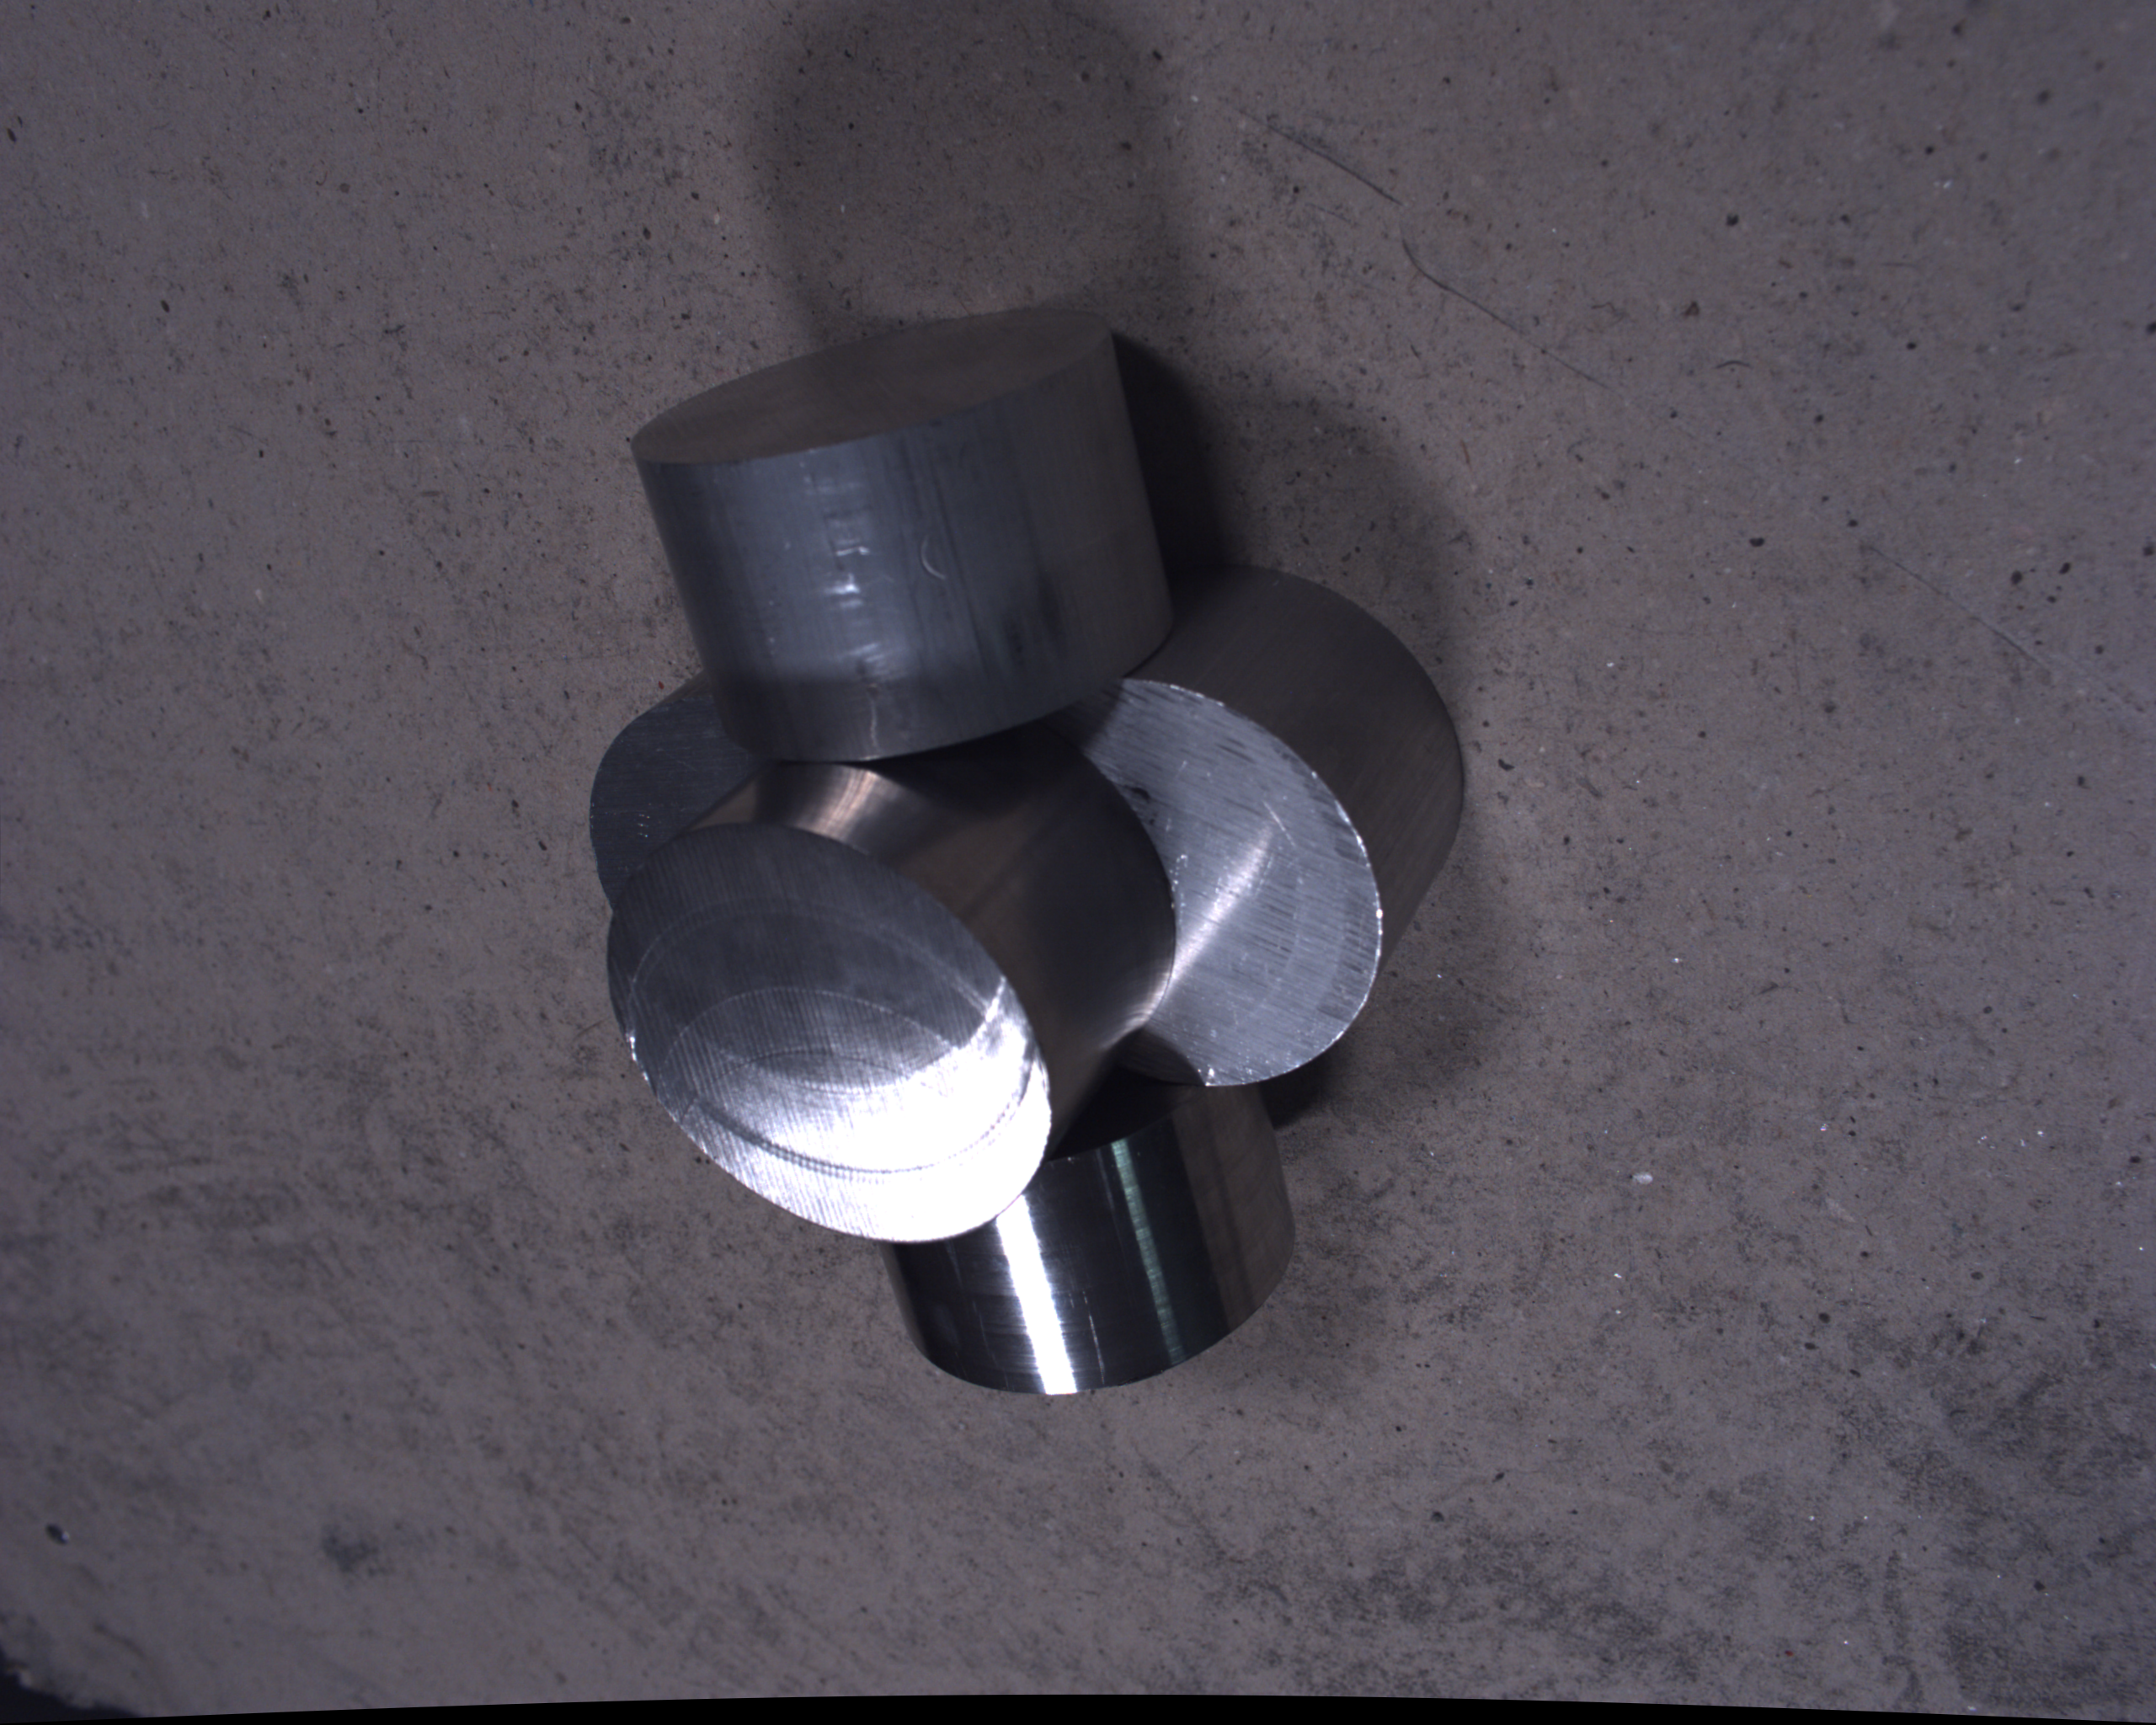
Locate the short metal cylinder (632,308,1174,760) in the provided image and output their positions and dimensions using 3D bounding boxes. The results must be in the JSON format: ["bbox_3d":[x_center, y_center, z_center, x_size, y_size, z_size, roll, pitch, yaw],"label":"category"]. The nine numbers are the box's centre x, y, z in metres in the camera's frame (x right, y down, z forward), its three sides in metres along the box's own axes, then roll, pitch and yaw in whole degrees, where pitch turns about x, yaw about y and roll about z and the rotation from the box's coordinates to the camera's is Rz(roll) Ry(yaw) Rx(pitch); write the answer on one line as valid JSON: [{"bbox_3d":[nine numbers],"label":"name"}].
[{"bbox_3d":[-0.028,-0.057,0.351,0.080,0.080,0.050,0,118,28],"label":"short metal cylinder"}]

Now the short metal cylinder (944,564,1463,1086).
[{"bbox_3d":[0.023,-0.007,0.374,0.080,0.050,0.079,13,124,20],"label":"short metal cylinder"}]

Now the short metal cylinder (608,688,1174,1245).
[{"bbox_3d":[-0.031,0.017,0.352,0.080,0.050,0.079,13,124,20],"label":"short metal cylinder"}]

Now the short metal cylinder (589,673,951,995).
[{"bbox_3d":[-0.048,-0.007,0.411,0.080,0.050,0.079,13,124,20],"label":"short metal cylinder"}]

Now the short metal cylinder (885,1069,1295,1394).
[{"bbox_3d":[-0.002,0.058,0.408,0.080,0.080,0.050,0,119,27],"label":"short metal cylinder"}]
